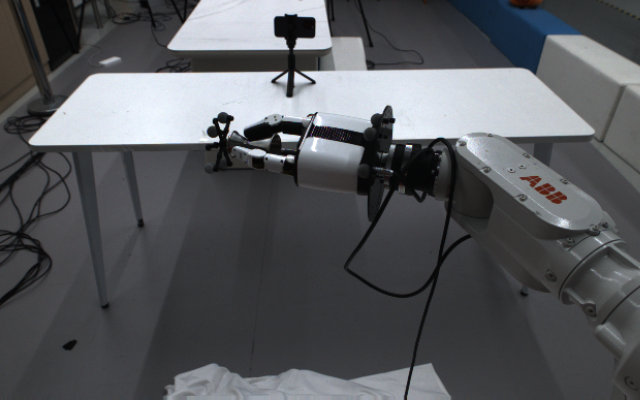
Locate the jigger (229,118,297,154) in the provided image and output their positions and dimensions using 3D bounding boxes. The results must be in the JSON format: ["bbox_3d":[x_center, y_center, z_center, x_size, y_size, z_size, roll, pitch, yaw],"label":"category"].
[{"bbox_3d":[-0.090,-0.080,0.700,0.071,0.043,0.043,8,35,17],"label":"jigger"}]
